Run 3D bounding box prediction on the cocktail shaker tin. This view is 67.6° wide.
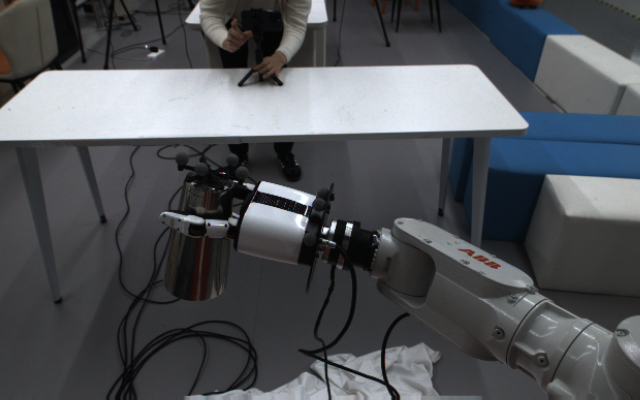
[{"bbox_3d":[-0.163,0.044,0.681,0.093,0.170,0.093,12,26,-6],"label":"cocktail shaker tin"}]
